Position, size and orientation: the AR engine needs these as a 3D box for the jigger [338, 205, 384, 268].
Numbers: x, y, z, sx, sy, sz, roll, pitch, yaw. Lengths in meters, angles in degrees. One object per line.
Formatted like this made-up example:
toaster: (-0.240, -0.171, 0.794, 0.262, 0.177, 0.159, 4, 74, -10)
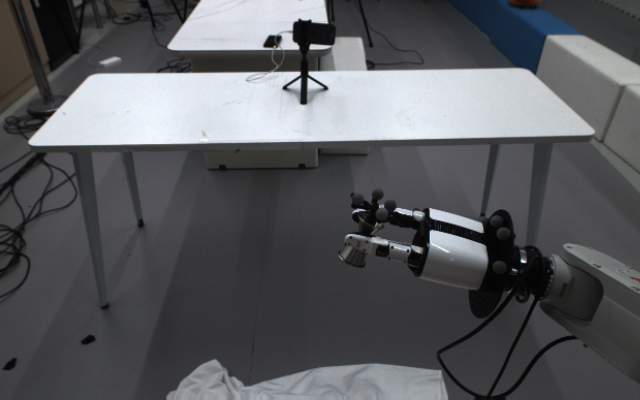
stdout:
jigger: (0.058, 0.057, 0.696, 0.043, 0.071, 0.043, 23, 19, -8)
